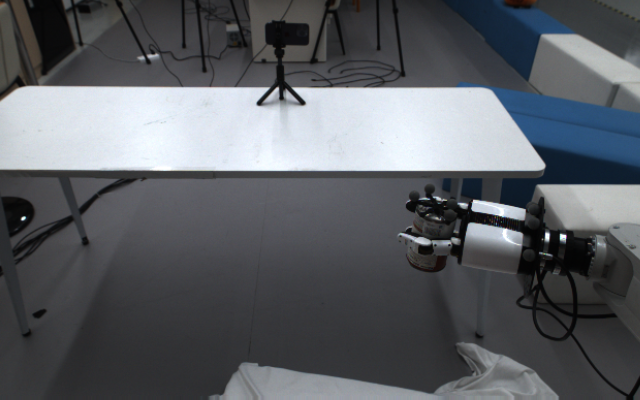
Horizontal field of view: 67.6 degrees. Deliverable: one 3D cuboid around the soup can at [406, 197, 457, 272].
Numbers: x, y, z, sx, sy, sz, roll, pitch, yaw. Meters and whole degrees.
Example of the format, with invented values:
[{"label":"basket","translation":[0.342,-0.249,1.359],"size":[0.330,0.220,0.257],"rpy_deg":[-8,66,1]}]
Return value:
[{"label":"soup can","translation":[0.184,0.059,0.797],"size":[0.067,0.101,0.067],"rpy_deg":[4,30,-2]}]
